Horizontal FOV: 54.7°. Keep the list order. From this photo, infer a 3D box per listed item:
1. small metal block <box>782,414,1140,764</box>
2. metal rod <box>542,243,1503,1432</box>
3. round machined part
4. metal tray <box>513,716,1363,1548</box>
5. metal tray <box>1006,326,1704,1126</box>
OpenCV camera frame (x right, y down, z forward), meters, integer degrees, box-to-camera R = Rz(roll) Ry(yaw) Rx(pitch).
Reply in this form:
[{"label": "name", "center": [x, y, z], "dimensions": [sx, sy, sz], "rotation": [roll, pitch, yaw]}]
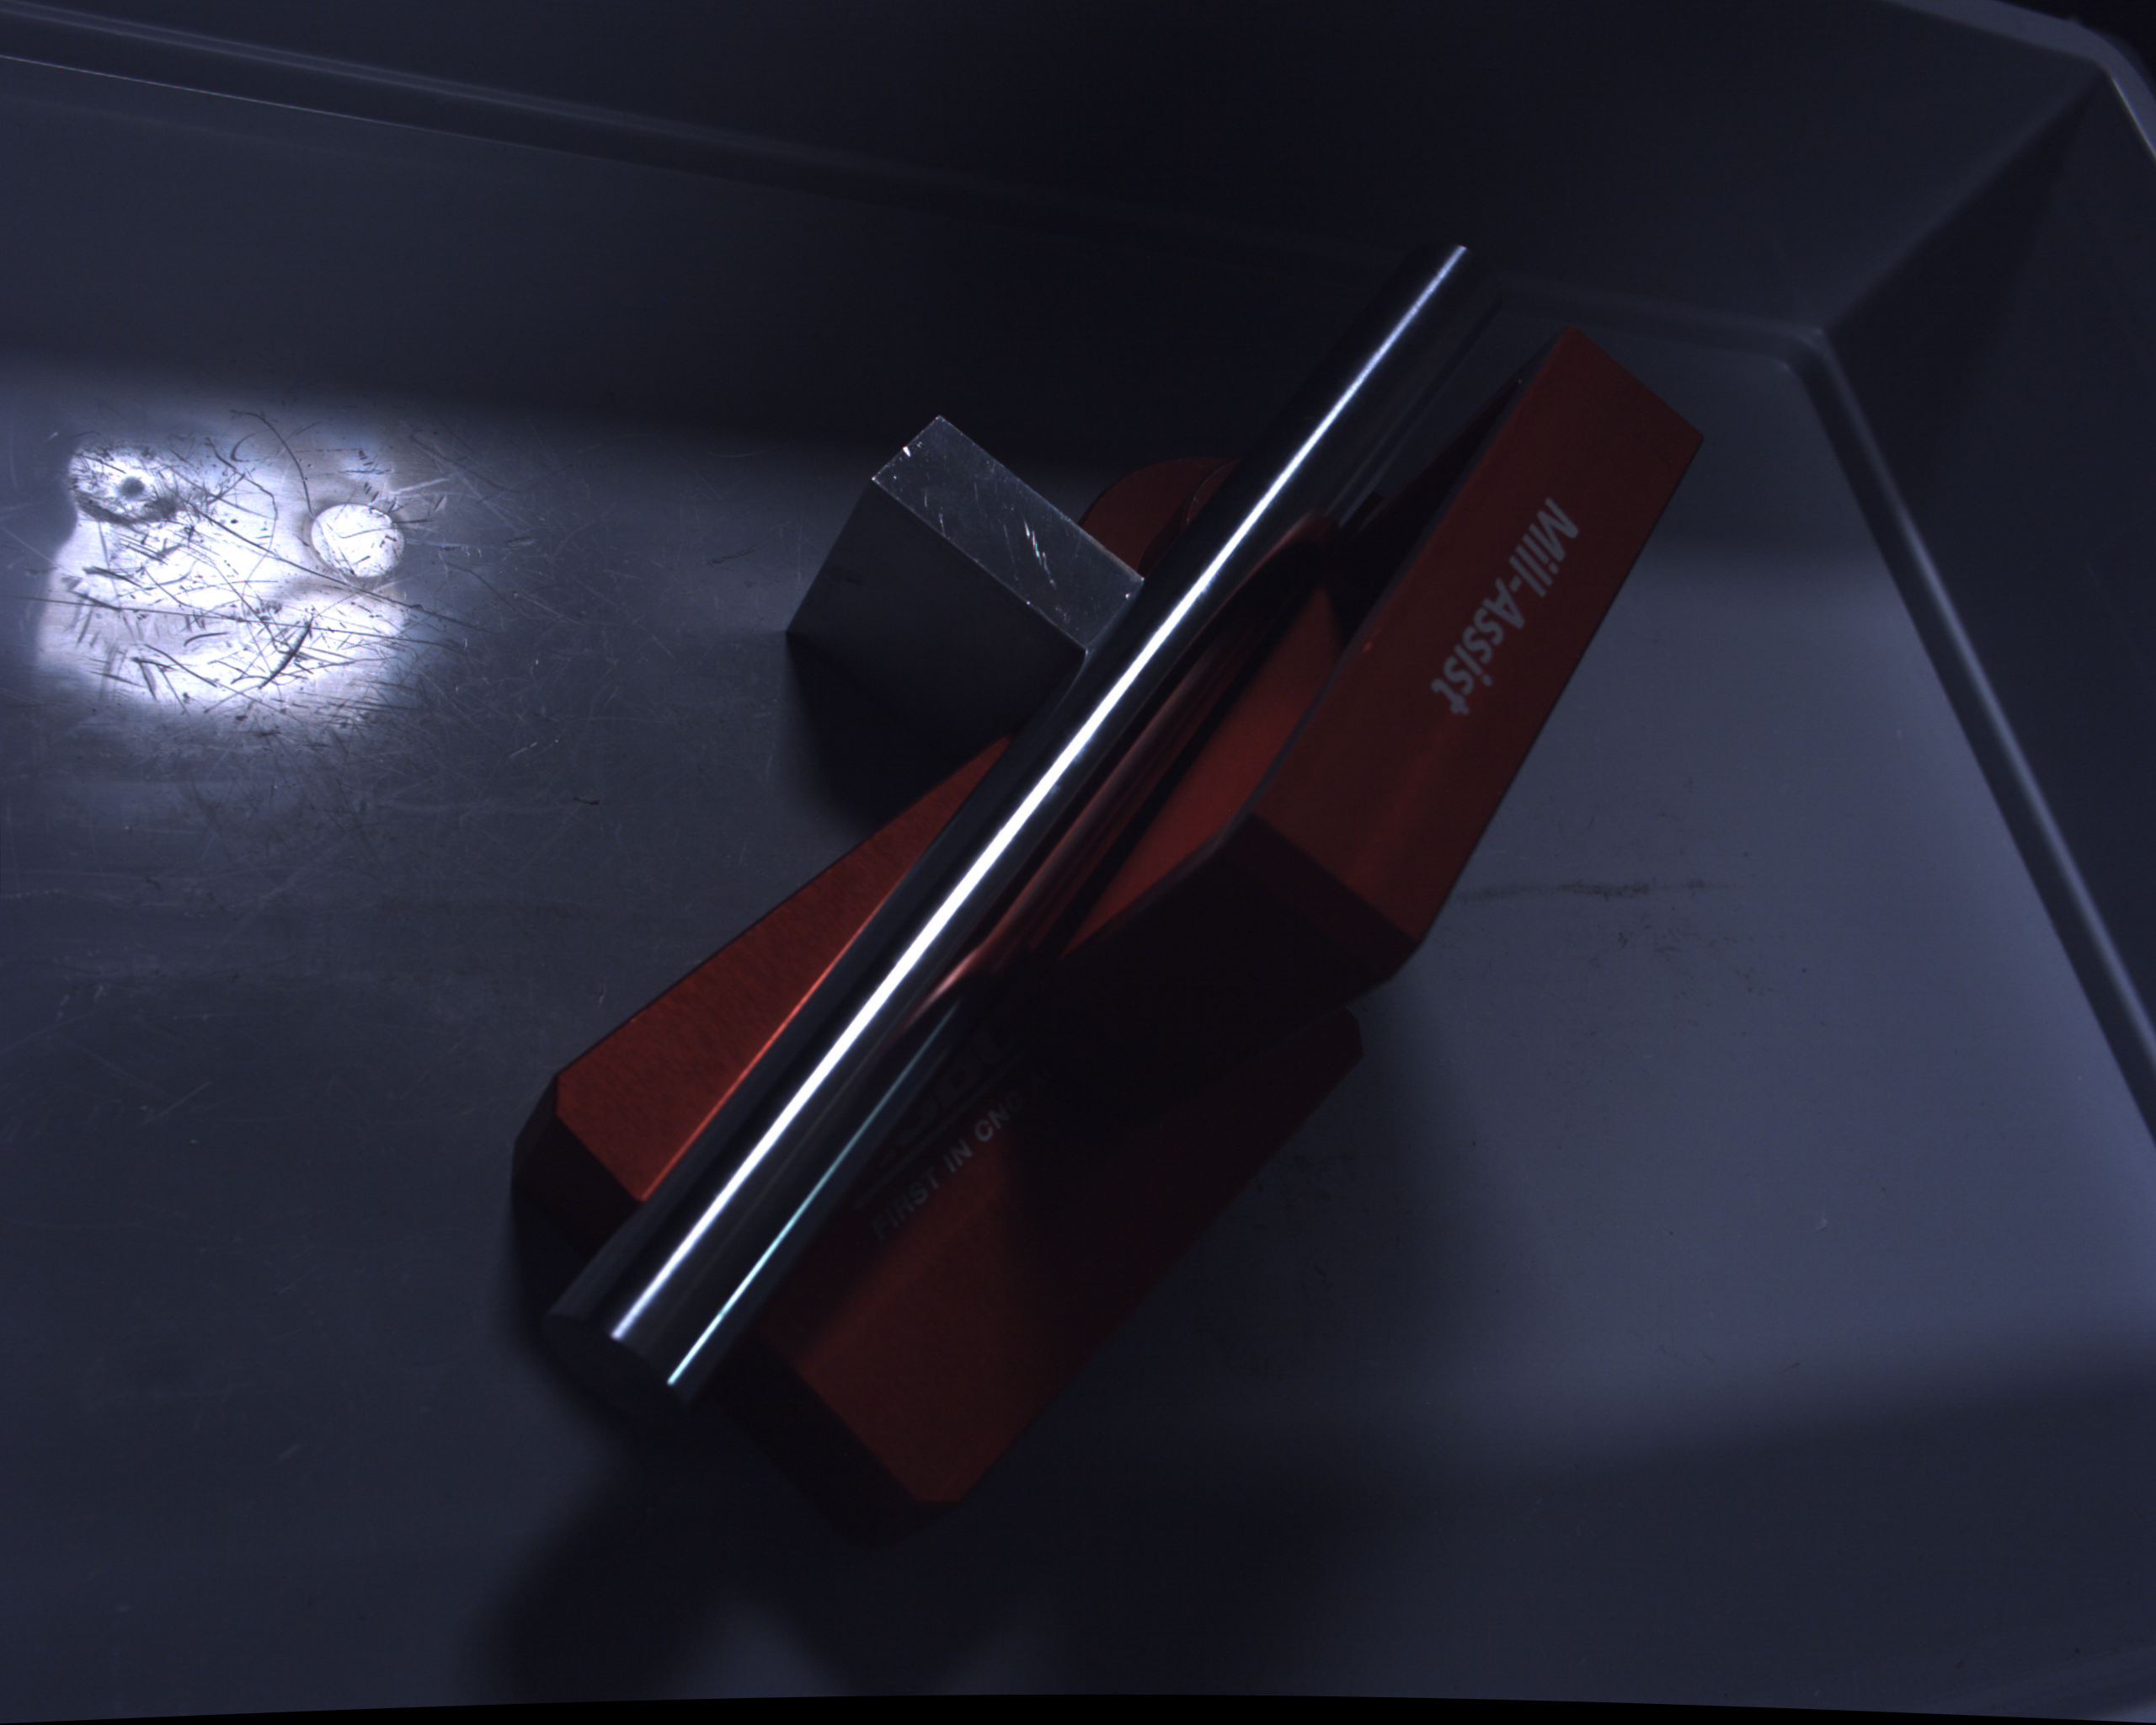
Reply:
[{"label": "small metal block", "center": [-0.023, -0.050, 0.407], "dimensions": [0.050, 0.050, 0.025], "rotation": [39, 51, -3]}, {"label": "metal rod", "center": [0.009, -0.027, 0.377], "dimensions": [0.025, 0.025, 0.301], "rotation": [39, 55, -3]}, {"label": "round machined part", "center": [0.043, -0.048, 0.446], "dimensions": [0.099, 0.042, 0.098], "rotation": [14, 56, -21]}, {"label": "metal tray", "center": [-0.019, 0.041, 0.366], "dimensions": [0.090, 0.030, 0.131], "rotation": [46, 51, 4]}, {"label": "metal tray", "center": [0.047, -0.023, 0.354], "dimensions": [0.030, 0.090, 0.130], "rotation": [39, 57, -6]}]
